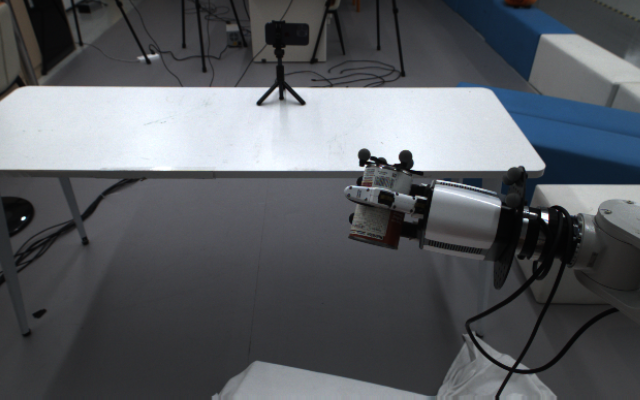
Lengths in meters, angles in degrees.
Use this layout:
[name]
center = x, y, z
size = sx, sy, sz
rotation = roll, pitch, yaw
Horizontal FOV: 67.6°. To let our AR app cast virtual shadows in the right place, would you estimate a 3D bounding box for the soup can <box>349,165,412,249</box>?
[soup can]
center = 0.084, 0.009, 0.649
size = 0.067, 0.101, 0.067
rotation = 13, -6, 1
